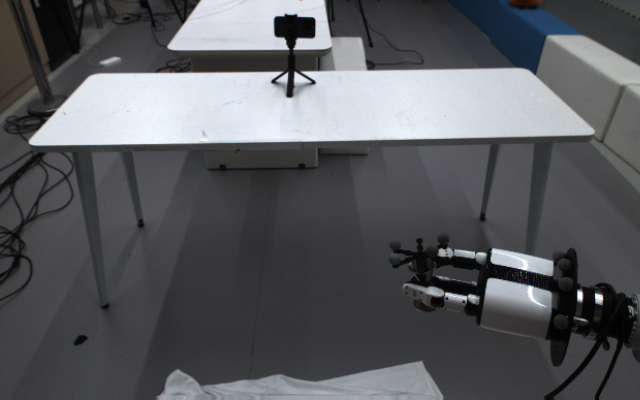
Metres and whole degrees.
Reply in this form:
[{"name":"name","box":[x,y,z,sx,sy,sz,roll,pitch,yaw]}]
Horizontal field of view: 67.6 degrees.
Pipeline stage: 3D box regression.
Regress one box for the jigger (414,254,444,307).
[{"name":"jigger","box":[0.154,0.122,0.711,0.043,0.071,0.043,-11,24,5]}]
